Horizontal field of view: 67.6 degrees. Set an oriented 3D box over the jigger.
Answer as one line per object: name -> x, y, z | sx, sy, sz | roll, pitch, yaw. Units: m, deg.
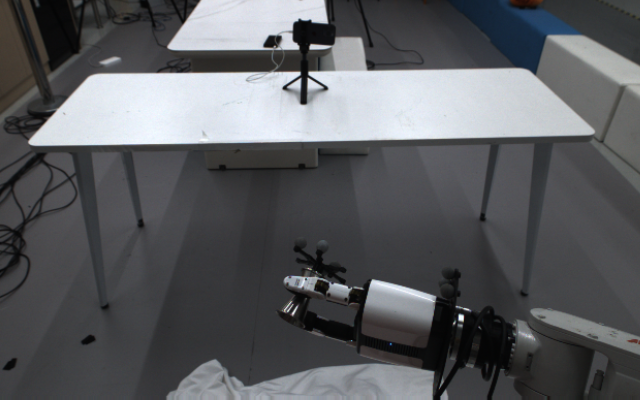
jigger -> -0.024, 0.125, 0.639 | 0.043, 0.043, 0.071 | 19, 62, 23
